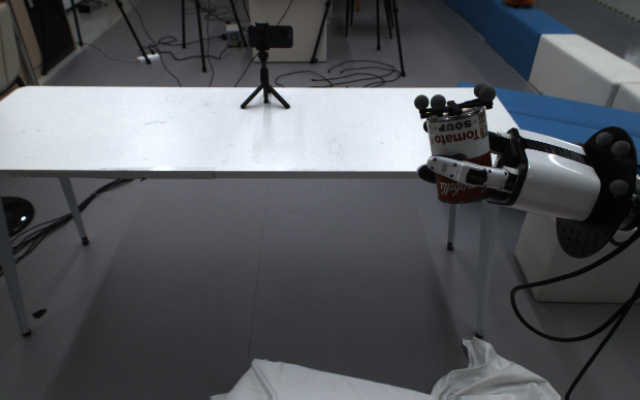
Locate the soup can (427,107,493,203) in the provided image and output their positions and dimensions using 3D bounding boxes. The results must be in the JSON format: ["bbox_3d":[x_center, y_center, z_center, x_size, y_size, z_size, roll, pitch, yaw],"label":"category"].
[{"bbox_3d":[0.168,-0.056,0.573,0.067,0.101,0.067,-12,17,4],"label":"soup can"}]
